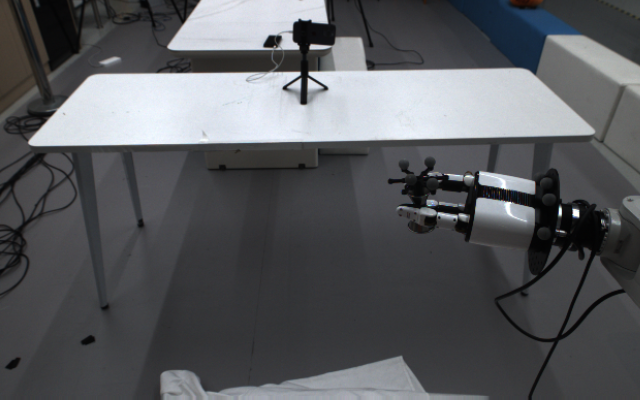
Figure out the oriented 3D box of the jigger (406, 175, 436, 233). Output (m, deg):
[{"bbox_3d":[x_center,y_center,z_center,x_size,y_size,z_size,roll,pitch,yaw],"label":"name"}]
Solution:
[{"bbox_3d":[0.156,0.010,0.756,0.043,0.071,0.043,-9,31,5],"label":"jigger"}]
